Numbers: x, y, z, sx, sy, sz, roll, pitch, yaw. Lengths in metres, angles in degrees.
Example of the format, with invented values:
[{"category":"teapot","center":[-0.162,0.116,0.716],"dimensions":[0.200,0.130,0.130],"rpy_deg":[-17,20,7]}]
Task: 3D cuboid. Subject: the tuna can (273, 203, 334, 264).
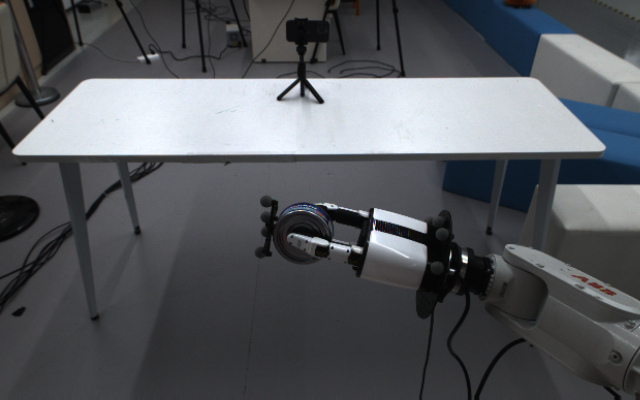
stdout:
[{"category":"tuna can","center":[-0.022,0.048,0.694],"dimensions":[0.085,0.085,0.034],"rpy_deg":[4,18,3]}]
